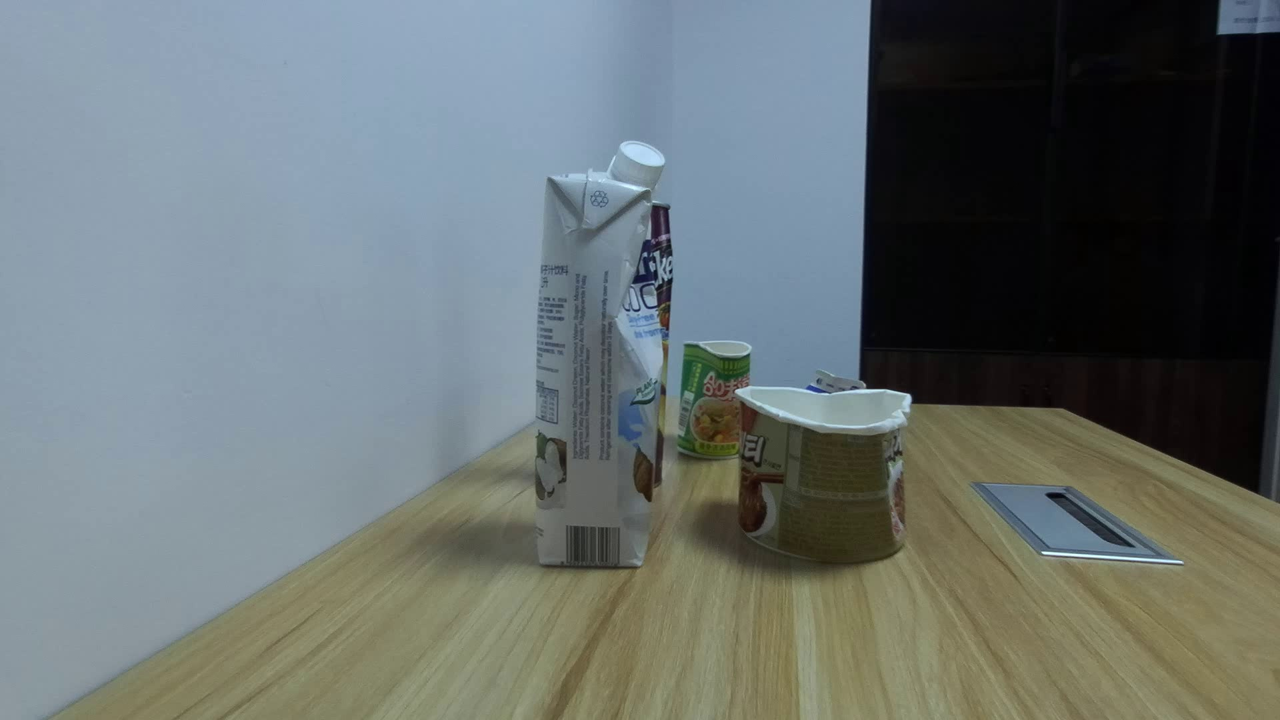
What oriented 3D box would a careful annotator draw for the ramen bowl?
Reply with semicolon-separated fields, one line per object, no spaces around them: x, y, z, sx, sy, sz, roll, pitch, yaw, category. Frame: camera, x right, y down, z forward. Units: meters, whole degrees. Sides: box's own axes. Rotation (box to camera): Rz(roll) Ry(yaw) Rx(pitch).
0.120;0.072;0.468;0.113;0.097;0.134;2;6;12;ramen bowl

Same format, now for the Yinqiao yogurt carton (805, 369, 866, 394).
0.172;0.058;0.620;0.074;0.091;0.075;4;4;-24;Yinqiao yogurt carton

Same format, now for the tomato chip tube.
-0.019;-0.016;0.601;0.077;0.235;0.076;2;3;38;tomato chip tube

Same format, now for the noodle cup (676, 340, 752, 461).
0.073;0.037;0.696;0.070;0.111;0.115;0;9;6;noodle cup

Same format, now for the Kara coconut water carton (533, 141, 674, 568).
-0.025;-0.005;0.440;0.078;0.255;0.083;3;7;15;Kara coconut water carton
